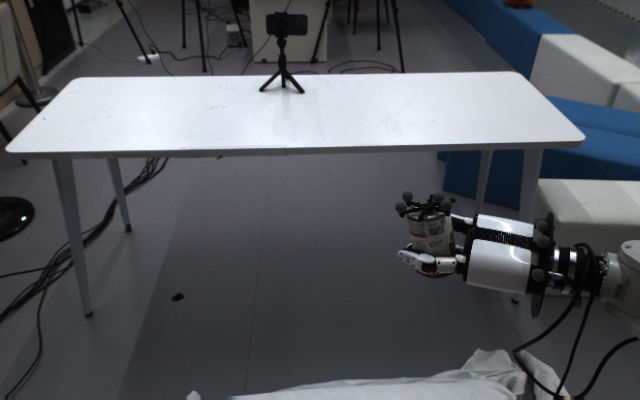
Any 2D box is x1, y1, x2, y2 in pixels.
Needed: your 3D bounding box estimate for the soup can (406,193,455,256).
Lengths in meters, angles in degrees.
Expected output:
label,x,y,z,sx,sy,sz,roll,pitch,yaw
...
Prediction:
label,x,y,z,sx,sy,sz,roll,pitch,yaw
soup can,0.178,0.061,0.755,0.067,0.101,0.067,-13,20,5
